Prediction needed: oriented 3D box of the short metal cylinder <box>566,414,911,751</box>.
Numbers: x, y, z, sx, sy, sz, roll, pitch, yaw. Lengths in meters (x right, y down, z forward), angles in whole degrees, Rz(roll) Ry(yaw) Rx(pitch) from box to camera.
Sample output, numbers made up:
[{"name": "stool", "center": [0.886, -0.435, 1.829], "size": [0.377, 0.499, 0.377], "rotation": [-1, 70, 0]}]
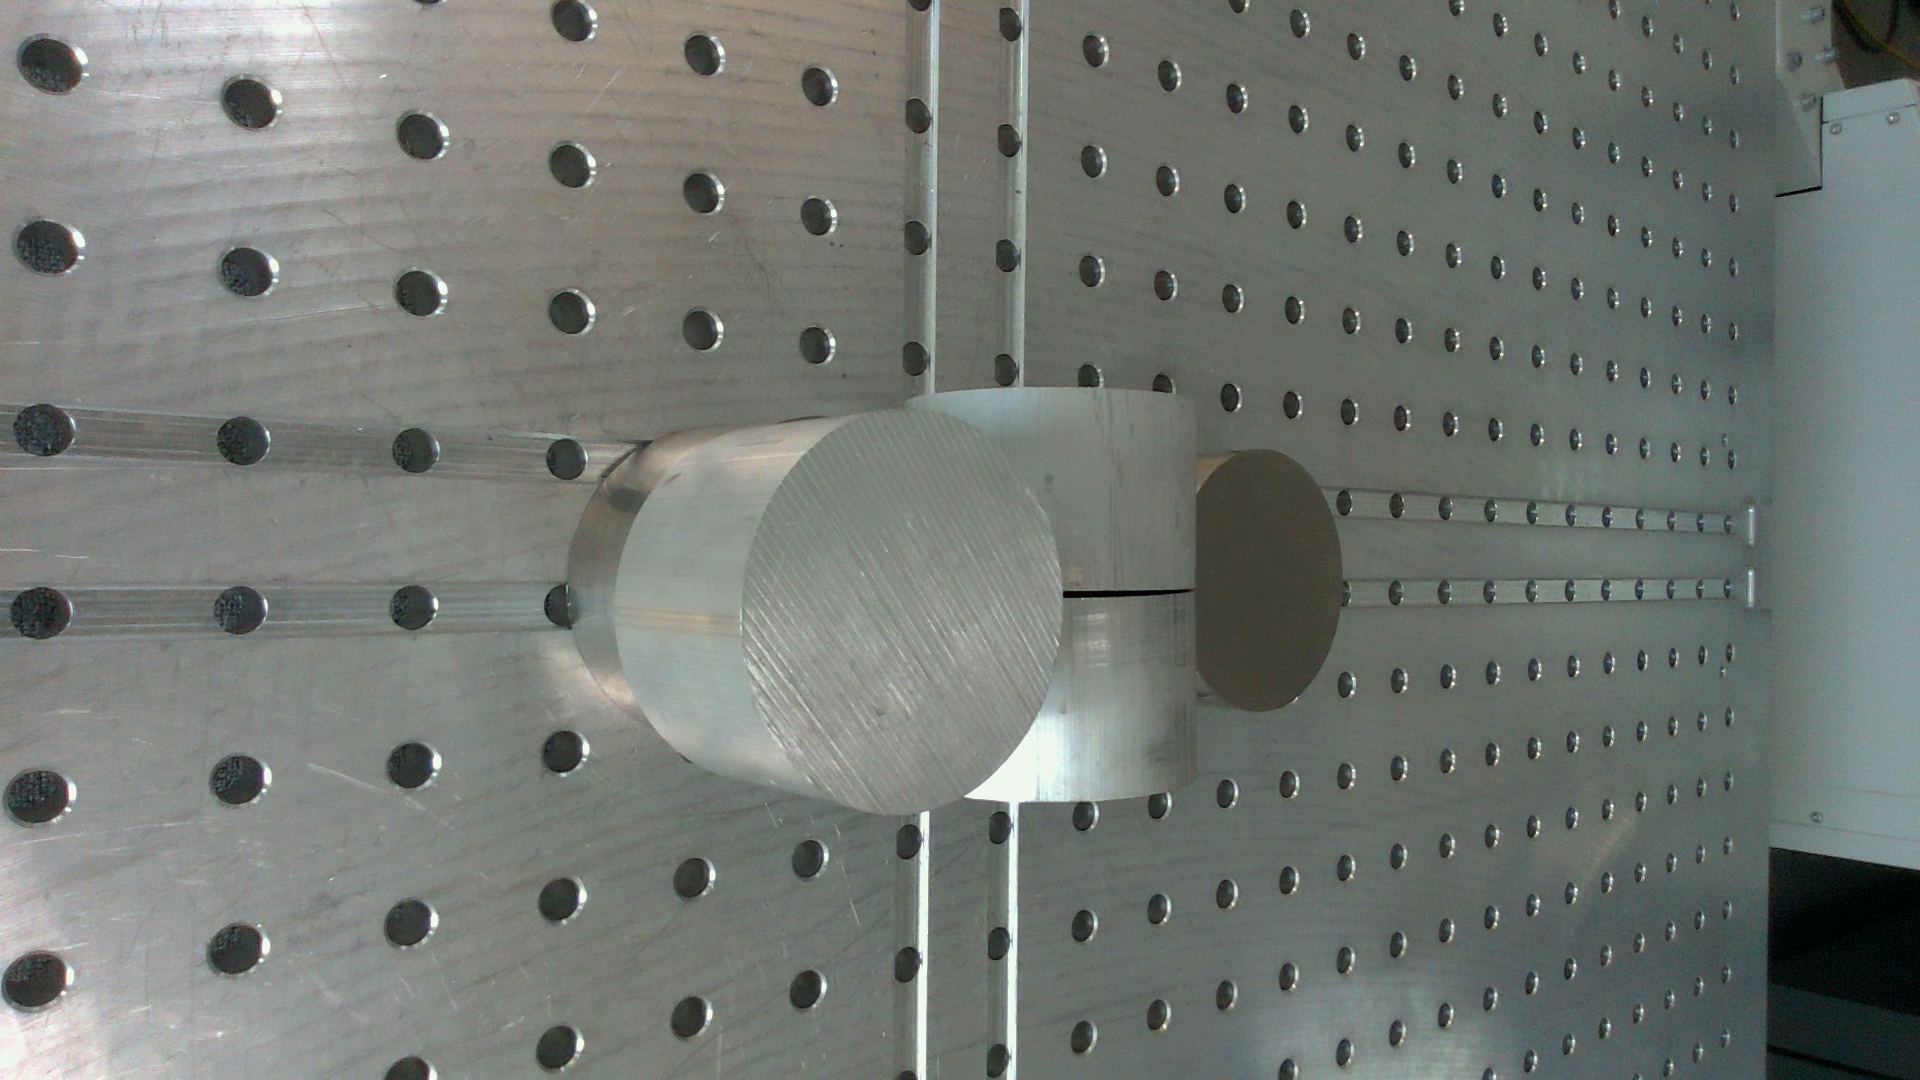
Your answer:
[{"name": "short metal cylinder", "center": [-0.048, 0.011, 0.336], "size": [0.080, 0.050, 0.080], "rotation": [0, 90, -40]}]

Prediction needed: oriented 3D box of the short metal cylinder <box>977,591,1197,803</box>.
[{"name": "short metal cylinder", "center": [0.024, 0.039, 0.377], "size": [0.080, 0.080, 0.050], "rotation": [-2, 91, -40]}]

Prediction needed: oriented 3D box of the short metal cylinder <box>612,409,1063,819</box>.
[{"name": "short metal cylinder", "center": [-0.025, 0.014, 0.288], "size": [0.080, 0.050, 0.080], "rotation": [0, 90, -40]}]

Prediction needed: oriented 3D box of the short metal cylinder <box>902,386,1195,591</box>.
[{"name": "short metal cylinder", "center": [0.024, -0.013, 0.377], "size": [0.080, 0.080, 0.050], "rotation": [1, 90, -40]}]

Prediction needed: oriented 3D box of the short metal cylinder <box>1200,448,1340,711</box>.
[{"name": "short metal cylinder", "center": [0.076, 0.012, 0.439], "size": [0.080, 0.050, 0.080], "rotation": [0, 90, -40]}]
